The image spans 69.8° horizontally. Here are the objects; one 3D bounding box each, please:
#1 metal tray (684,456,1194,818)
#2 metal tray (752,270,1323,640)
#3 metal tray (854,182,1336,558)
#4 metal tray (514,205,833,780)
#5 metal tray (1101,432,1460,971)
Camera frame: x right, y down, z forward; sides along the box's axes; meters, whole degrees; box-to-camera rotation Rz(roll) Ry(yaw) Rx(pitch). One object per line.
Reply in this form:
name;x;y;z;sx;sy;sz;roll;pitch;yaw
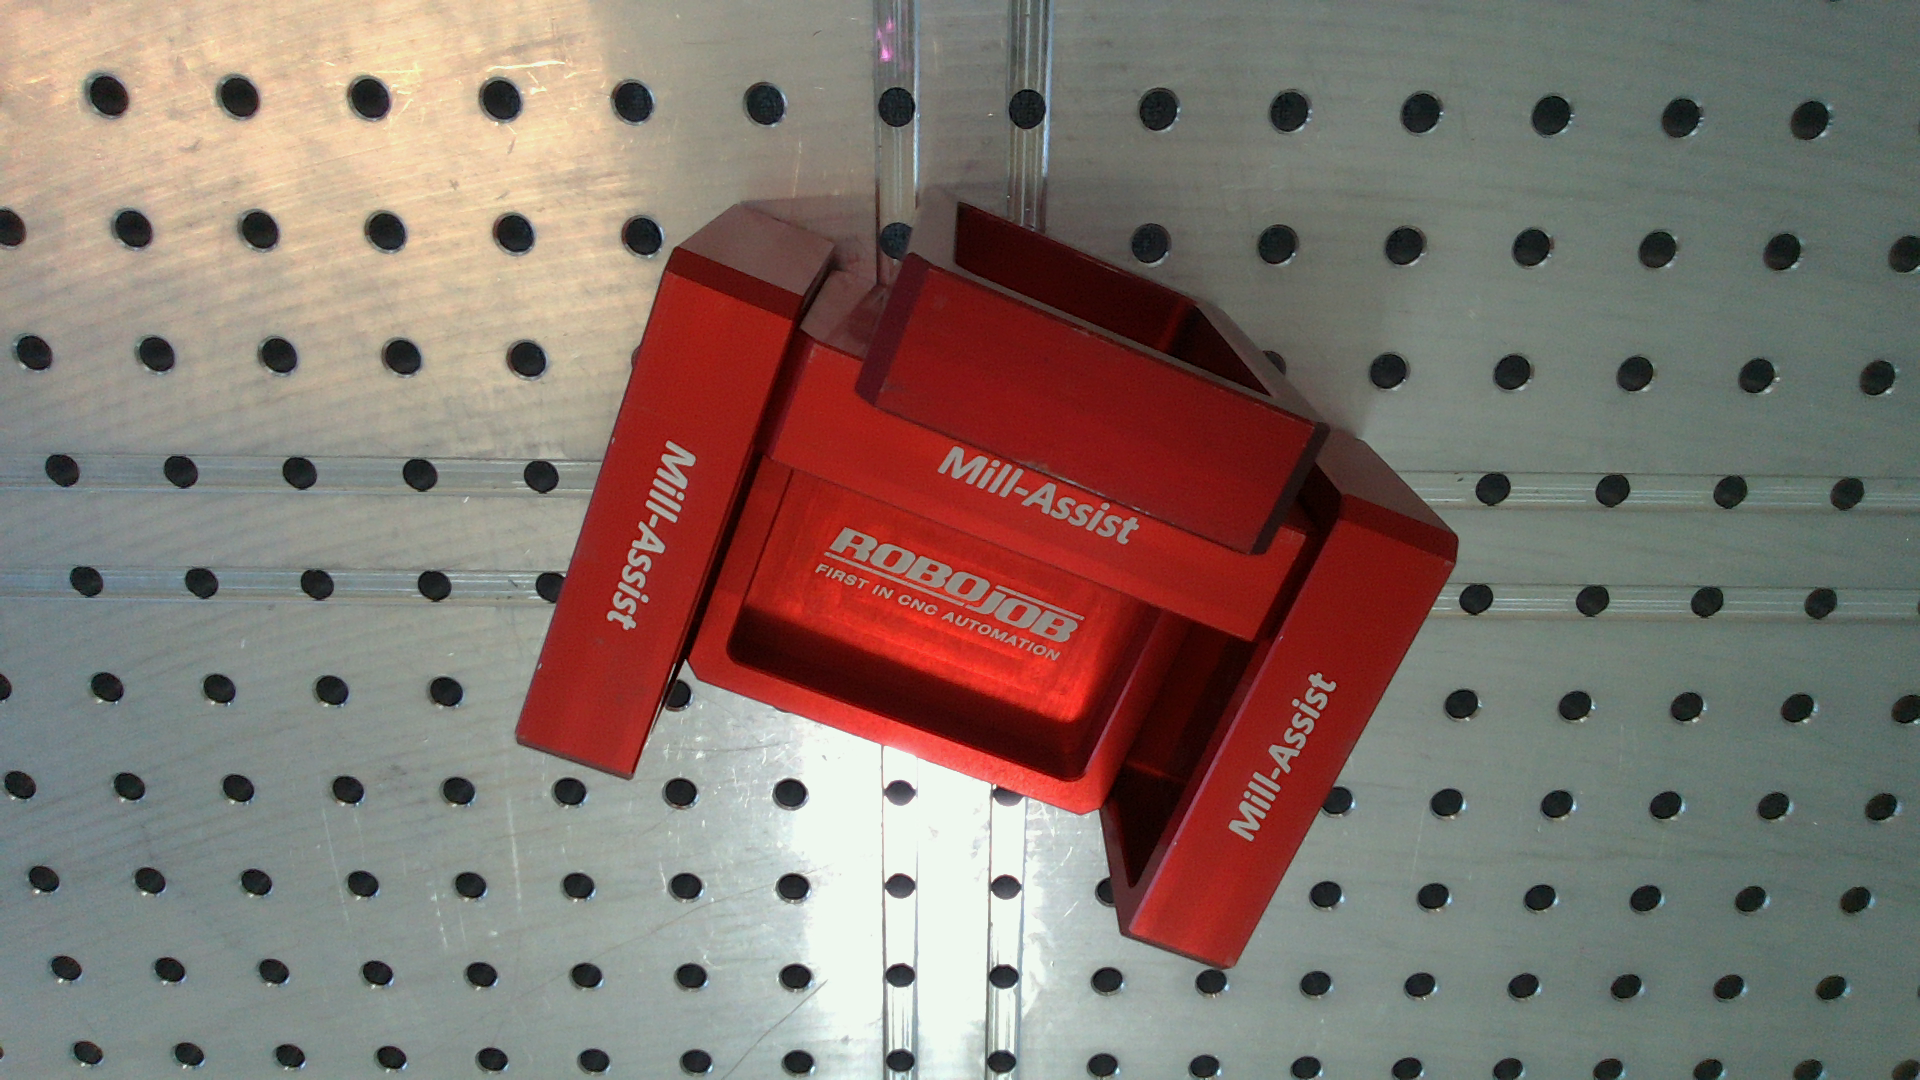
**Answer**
metal tray;-0.003;0.018;0.400;0.130;0.030;0.090;21;109;-8
metal tray;0.019;-0.026;0.352;0.130;0.090;0.030;20;109;-8
metal tray;0.026;-0.046;0.323;0.090;0.130;0.030;21;109;-8
metal tray;-0.072;-0.015;0.355;0.030;0.090;0.130;20;109;-8
metal tray;0.079;0.038;0.375;0.030;0.090;0.130;20;109;-7
